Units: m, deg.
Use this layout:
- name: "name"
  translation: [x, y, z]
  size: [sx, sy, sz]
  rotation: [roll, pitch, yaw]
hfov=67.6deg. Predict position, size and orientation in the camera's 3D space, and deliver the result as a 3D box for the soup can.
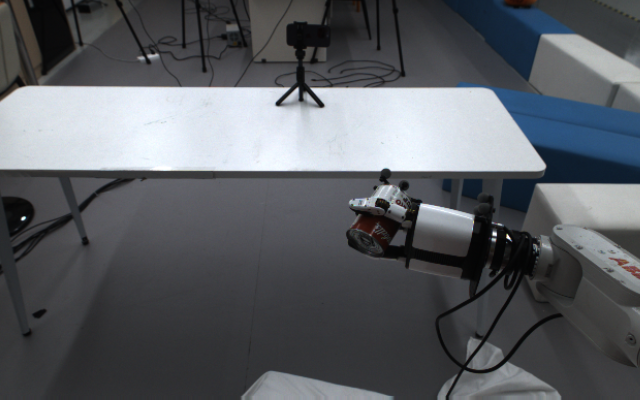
- name: "soup can"
  translation: [0.097, 0.030, 0.770]
  size: [0.067, 0.067, 0.101]
  rotation: [22, 60, 26]
